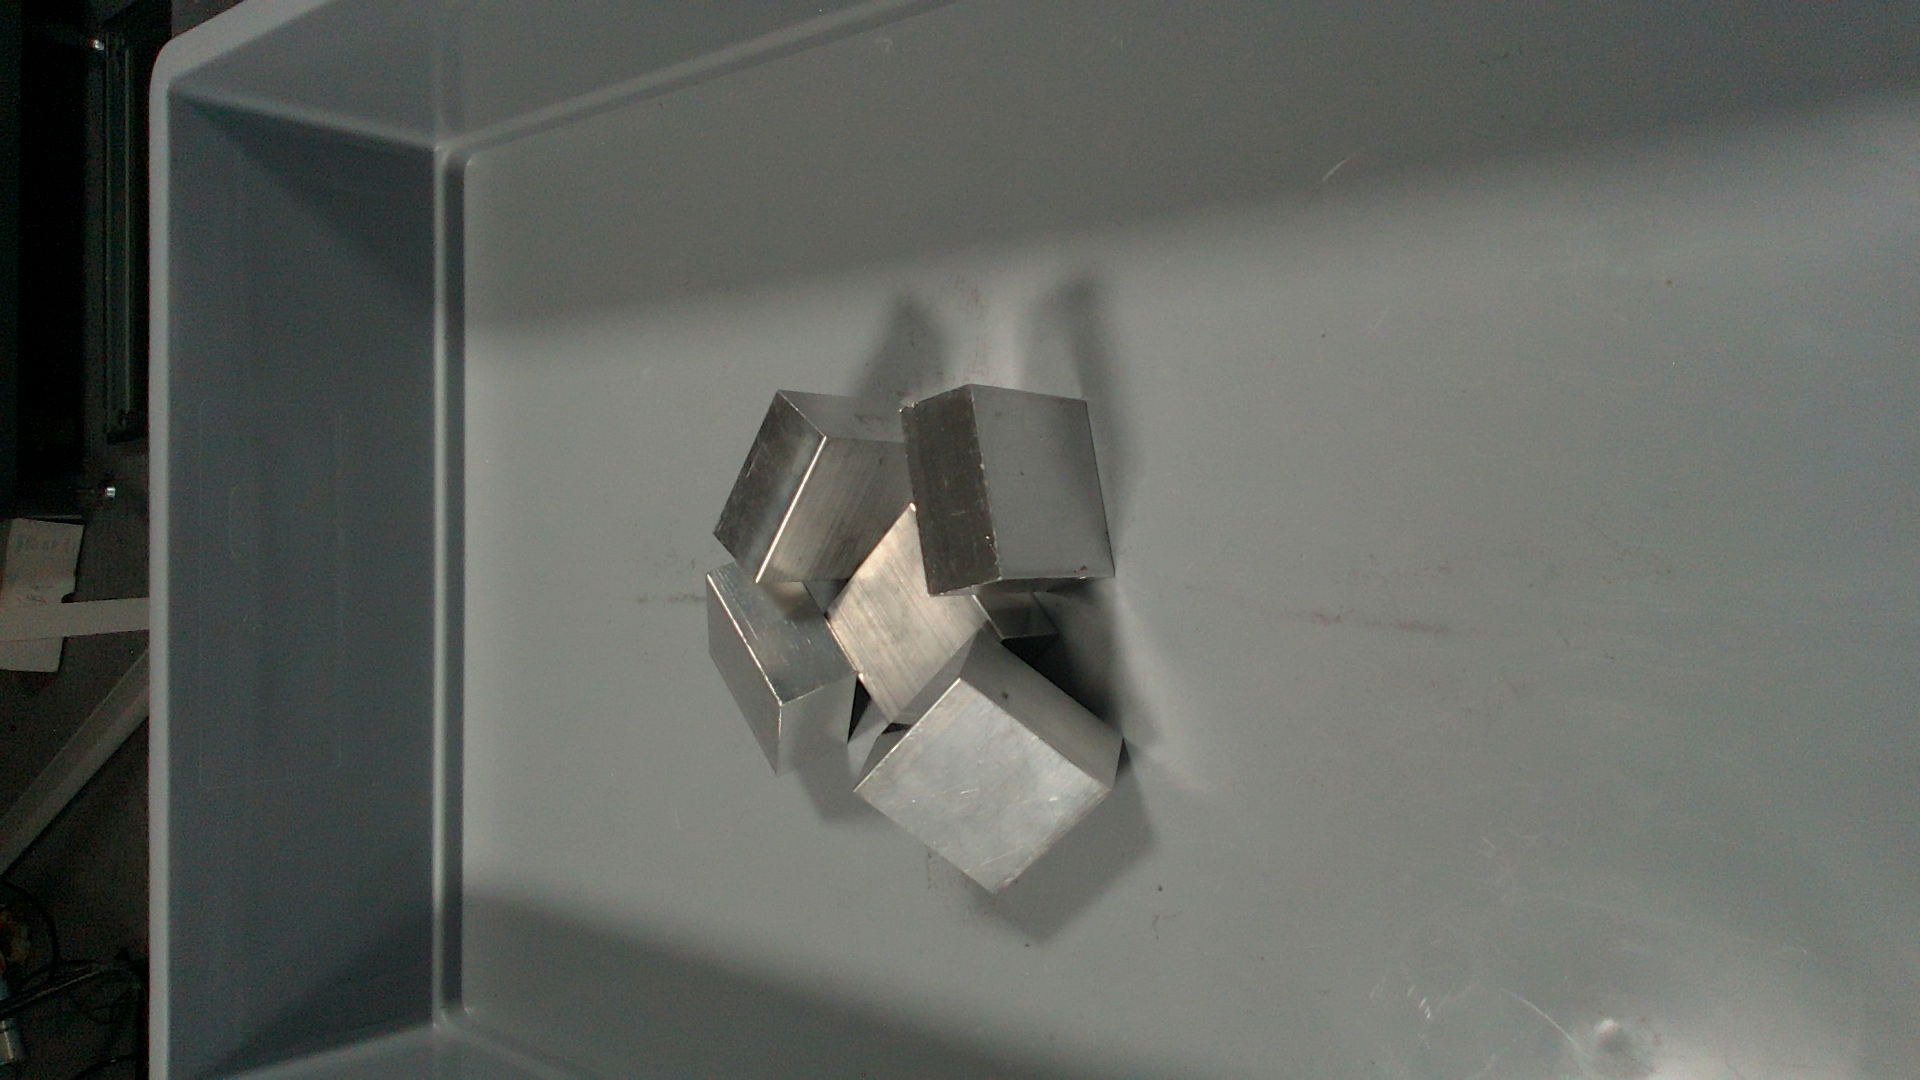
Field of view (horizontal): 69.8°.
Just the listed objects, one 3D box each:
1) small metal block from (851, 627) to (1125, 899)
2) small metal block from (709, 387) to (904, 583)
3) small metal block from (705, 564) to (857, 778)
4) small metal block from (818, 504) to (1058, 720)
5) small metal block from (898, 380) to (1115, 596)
[{"bbox_3d":[0.008,0.060,0.370,0.050,0.025,0.050,37,119,-7],"label":"small metal block"},{"bbox_3d":[-0.039,-0.015,0.409,0.025,0.050,0.050,44,117,32],"label":"small metal block"},{"bbox_3d":[-0.056,0.038,0.426,0.050,0.025,0.050,56,156,25],"label":"small metal block"},{"bbox_3d":[-0.007,0.024,0.399,0.050,0.025,0.050,-50,61,29],"label":"small metal block"},{"bbox_3d":[0.013,-0.013,0.365,0.025,0.050,0.050,-15,80,38],"label":"small metal block"}]
